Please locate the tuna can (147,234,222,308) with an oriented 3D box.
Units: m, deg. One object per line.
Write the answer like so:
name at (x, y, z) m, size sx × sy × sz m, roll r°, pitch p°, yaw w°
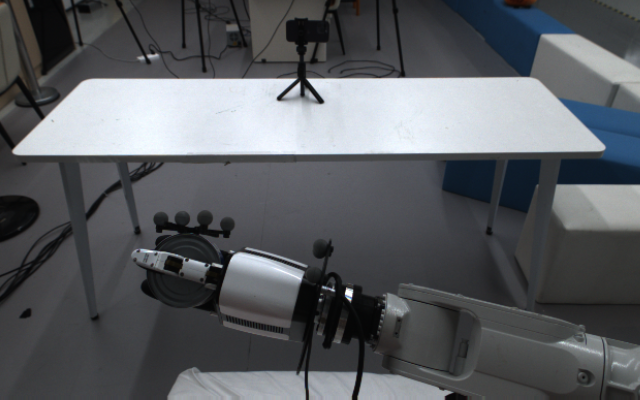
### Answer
tuna can at (-0.153, 0.084, 0.566) m, size 0.085 × 0.034 × 0.085 m, roll 0°, pitch 77°, yaw -1°
